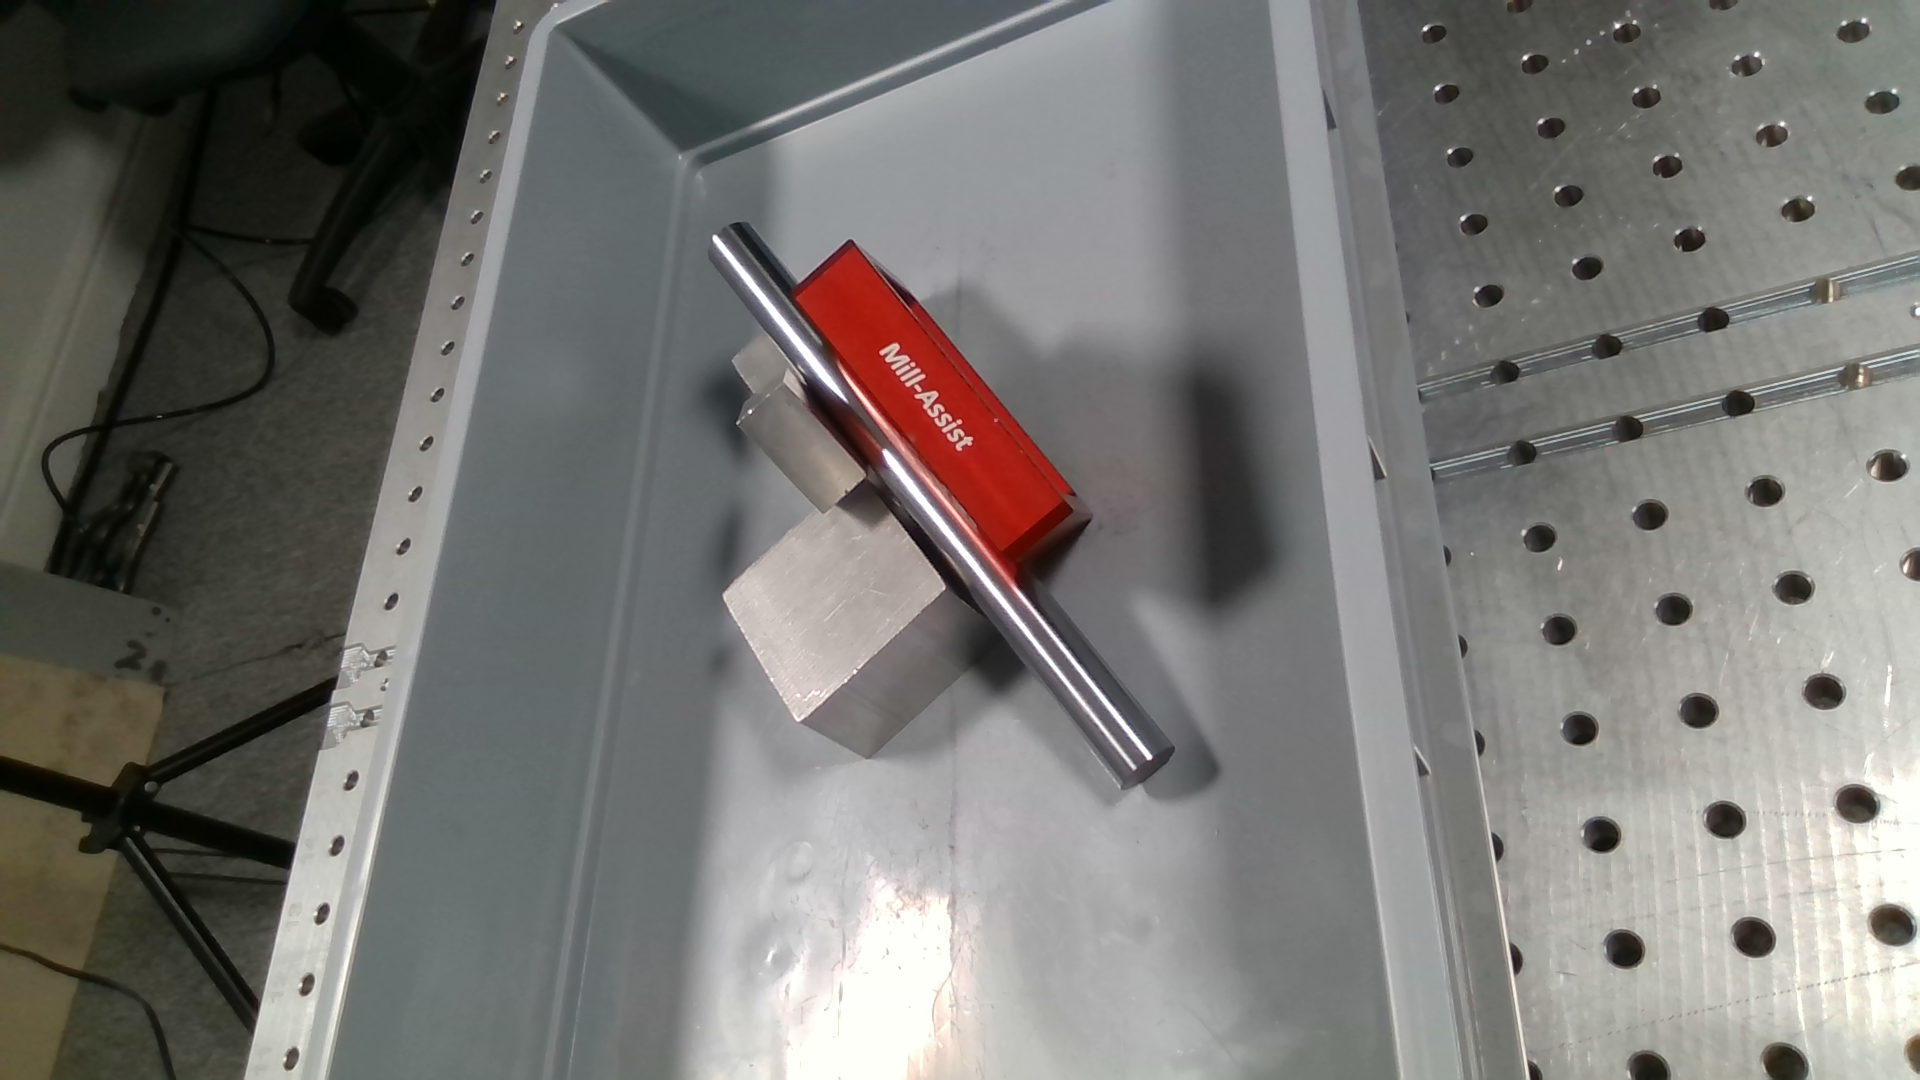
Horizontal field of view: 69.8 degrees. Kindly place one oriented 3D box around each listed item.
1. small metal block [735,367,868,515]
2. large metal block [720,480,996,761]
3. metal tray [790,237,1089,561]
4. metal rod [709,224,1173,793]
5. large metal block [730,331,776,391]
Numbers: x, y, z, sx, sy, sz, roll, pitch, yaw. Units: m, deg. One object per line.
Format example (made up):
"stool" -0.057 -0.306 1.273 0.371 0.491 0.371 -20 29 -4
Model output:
"small metal block" -0.064 -0.042 0.567 0.025 0.050 0.050 -40 15 7
"large metal block" -0.042 0.031 0.578 0.080 0.050 0.080 -43 51 5
"metal tray" -0.004 -0.052 0.538 0.030 0.090 0.130 -40 84 9
"metal rod" -0.017 -0.024 0.559 0.025 0.025 0.299 -41 66 7
"large metal block" -0.048 -0.077 0.635 0.080 0.050 0.080 -43 51 5
